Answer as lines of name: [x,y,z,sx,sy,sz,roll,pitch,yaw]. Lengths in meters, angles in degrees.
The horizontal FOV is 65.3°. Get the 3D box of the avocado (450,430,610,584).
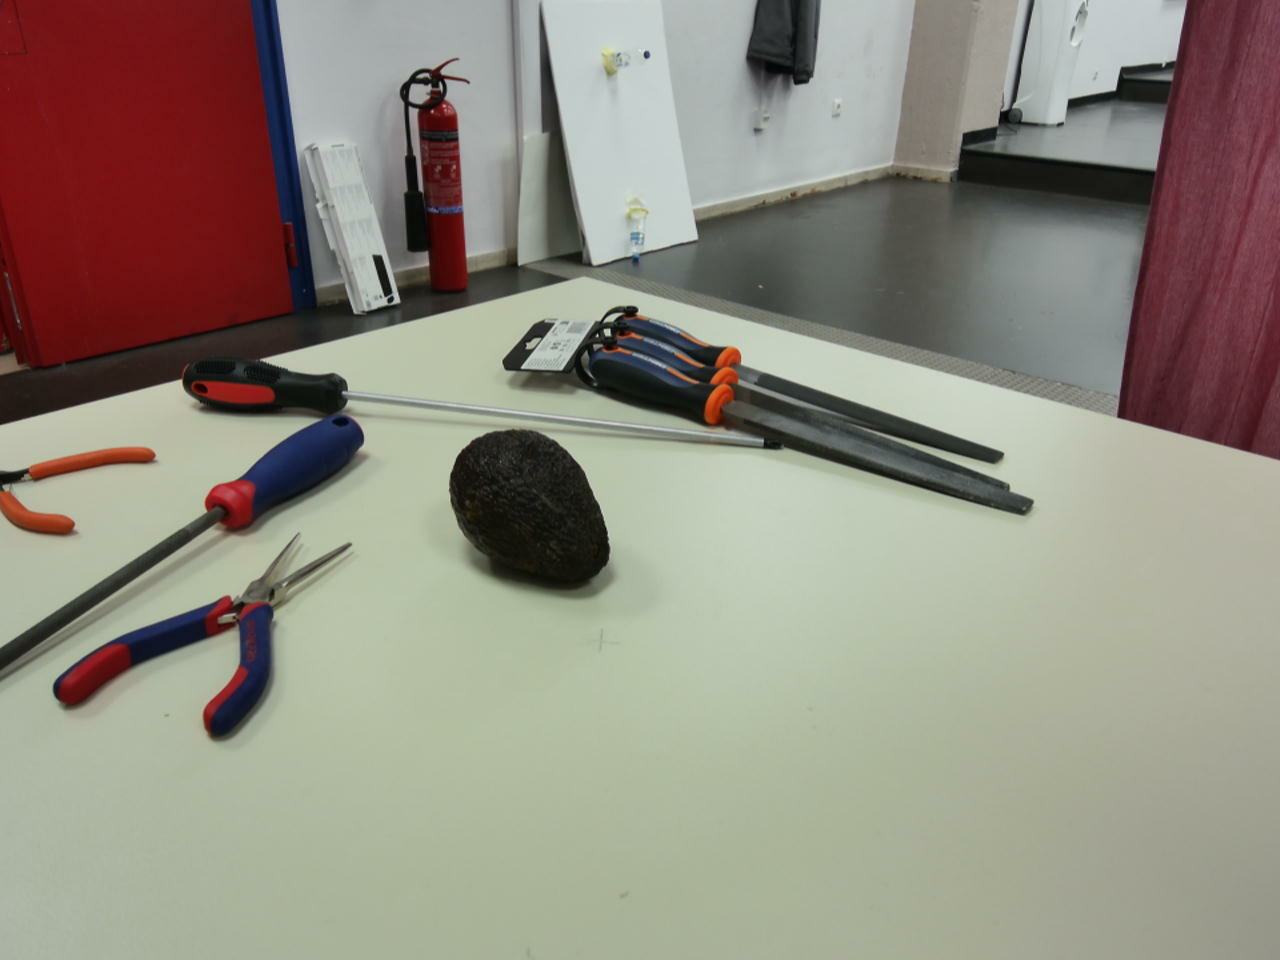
avocado: [-0.059,0.011,0.509,0.070,0.069,0.090,-10,26,-22]
